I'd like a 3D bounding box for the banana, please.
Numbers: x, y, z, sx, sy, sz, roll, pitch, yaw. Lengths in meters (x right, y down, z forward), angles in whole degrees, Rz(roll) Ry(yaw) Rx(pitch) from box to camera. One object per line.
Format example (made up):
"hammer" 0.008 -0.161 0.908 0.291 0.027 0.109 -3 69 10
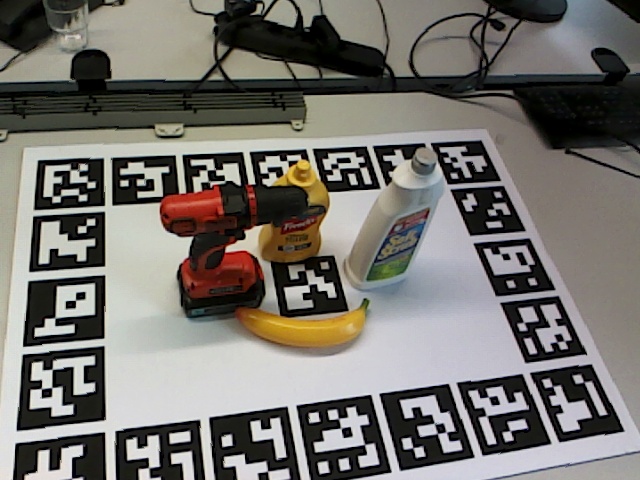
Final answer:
"banana" -0.009 0.118 0.871 0.197 0.039 0.074 -2 59 -10

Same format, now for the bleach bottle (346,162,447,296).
"bleach bottle" 0.110 -0.015 0.870 0.102 0.250 0.068 -11 58 -18

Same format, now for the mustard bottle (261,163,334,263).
"mustard bottle" -0.030 -0.041 0.891 0.096 0.191 0.058 -3 55 -14

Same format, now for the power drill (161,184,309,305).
"power drill" -0.114 0.005 0.819 0.184 0.187 0.057 -5 49 -17
